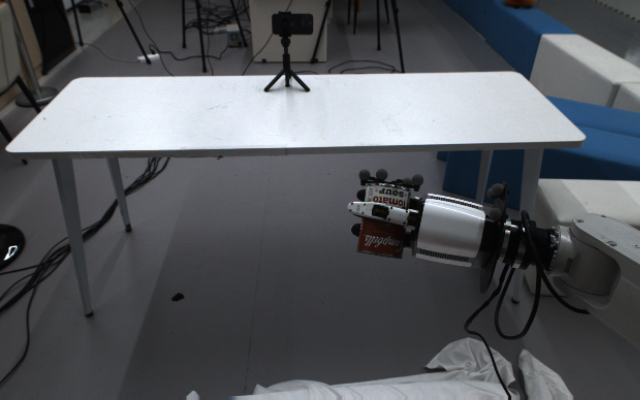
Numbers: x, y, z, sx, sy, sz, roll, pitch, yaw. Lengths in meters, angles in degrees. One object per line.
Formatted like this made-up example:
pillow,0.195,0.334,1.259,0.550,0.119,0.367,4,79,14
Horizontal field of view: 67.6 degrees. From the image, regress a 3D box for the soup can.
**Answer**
soup can,0.094,0.031,0.708,0.067,0.101,0.067,9,-6,1
